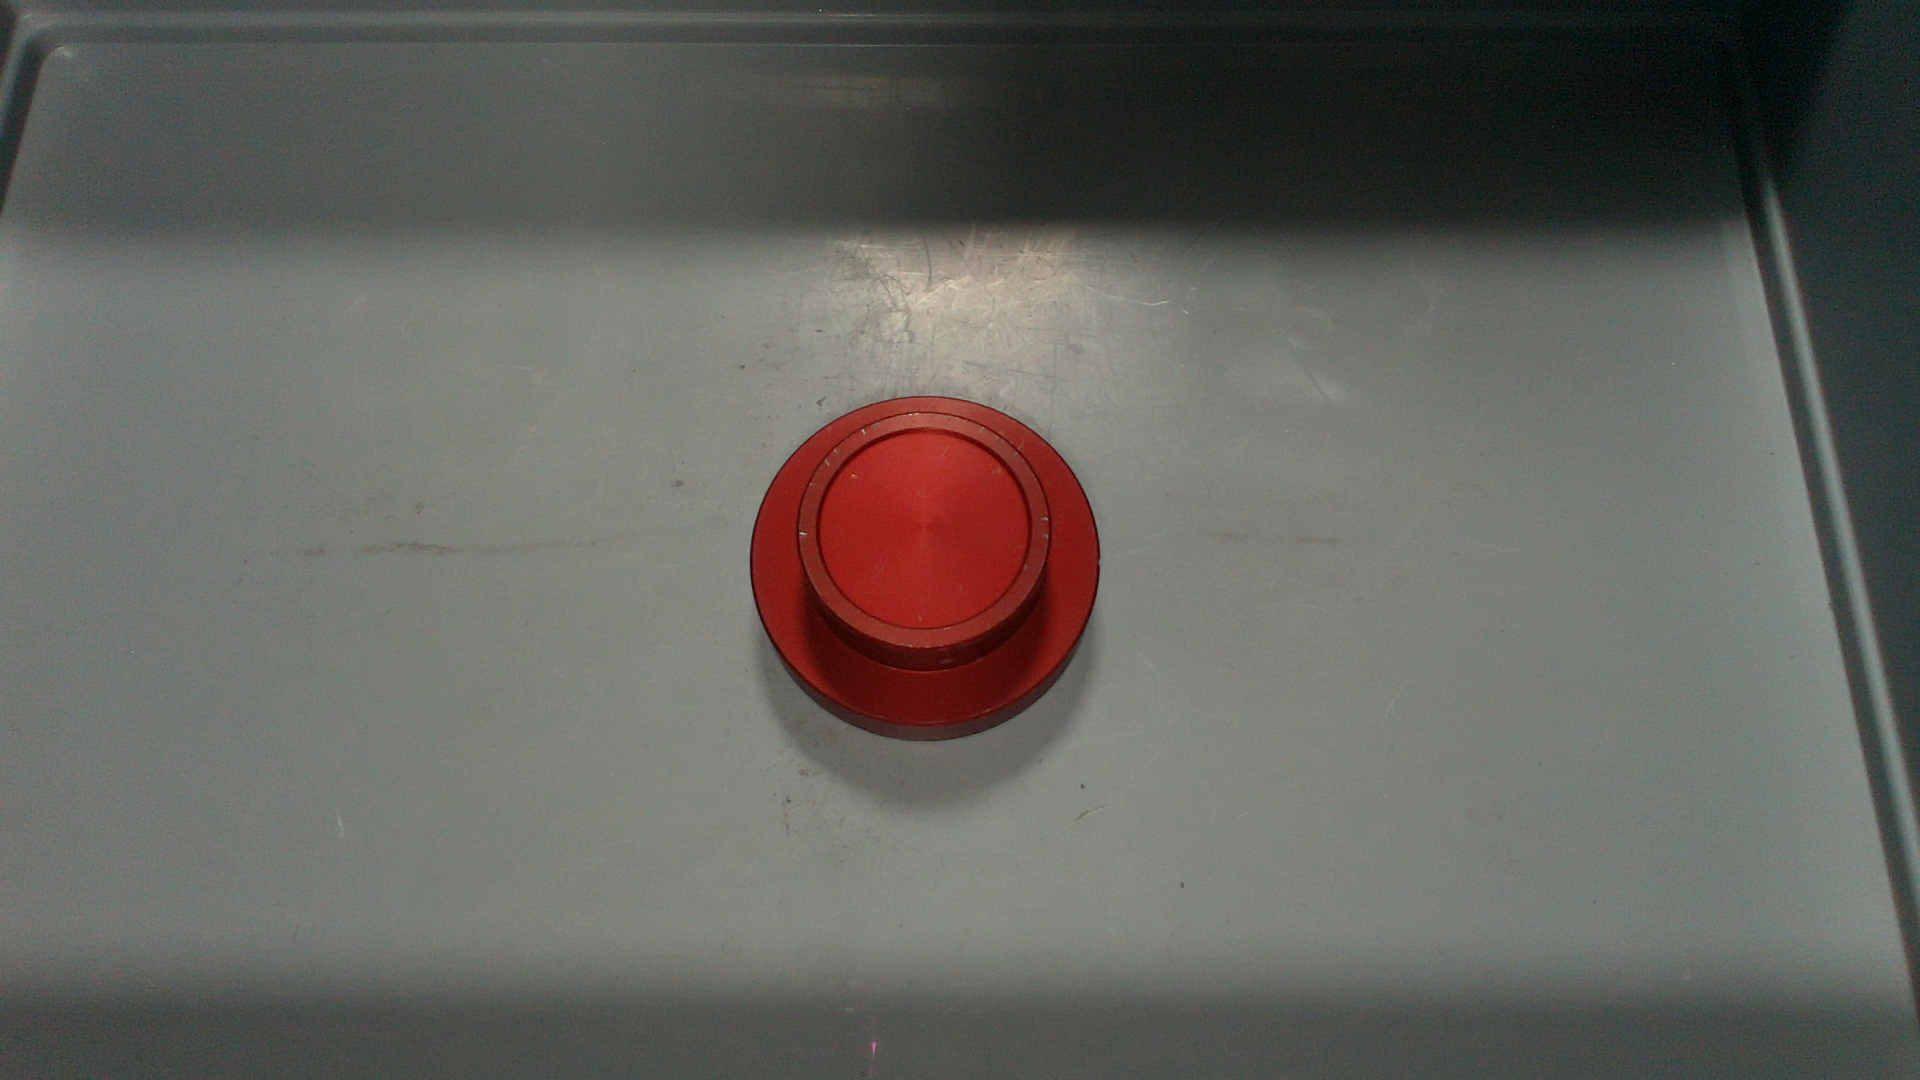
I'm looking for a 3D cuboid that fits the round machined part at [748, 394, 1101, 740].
[{"bbox_3d":[-0.010,0.003,0.381,0.098,0.042,0.098,0,70,0],"label":"round machined part"}]
